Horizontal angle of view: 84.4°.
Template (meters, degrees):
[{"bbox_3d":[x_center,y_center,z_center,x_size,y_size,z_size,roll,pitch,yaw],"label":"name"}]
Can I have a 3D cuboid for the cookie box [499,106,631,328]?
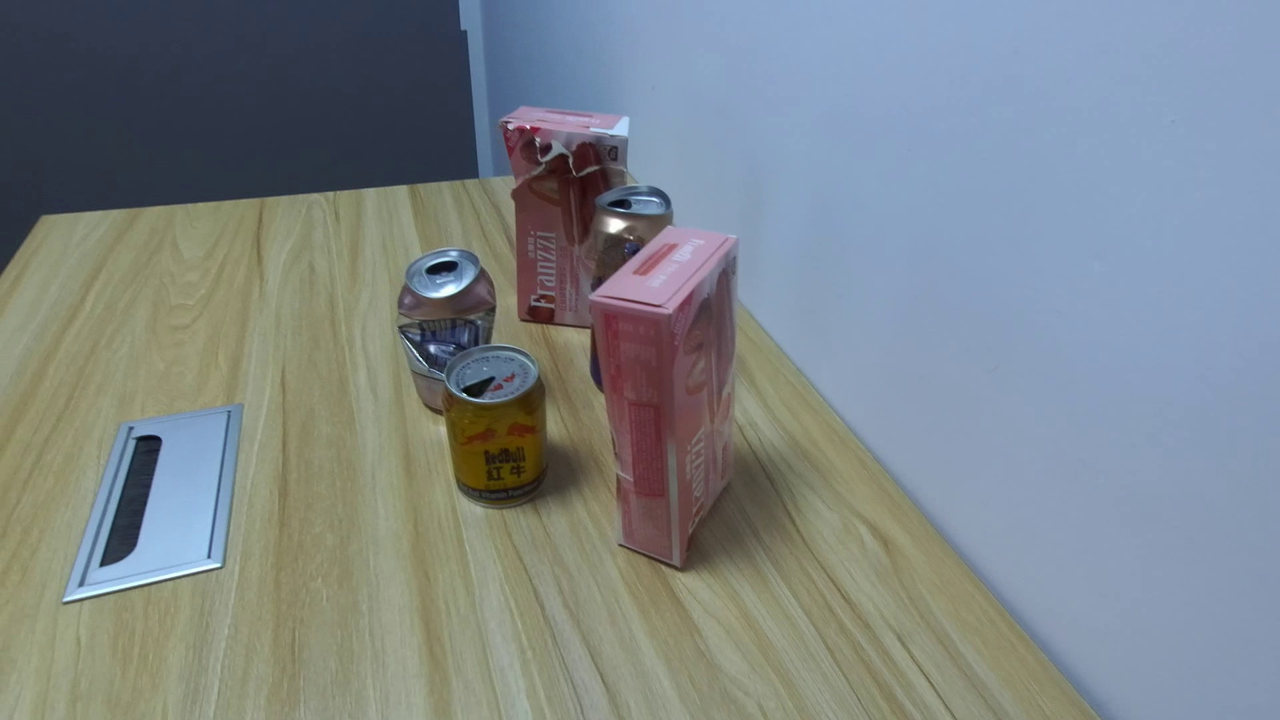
[{"bbox_3d":[-0.059,-0.114,0.608,0.105,0.186,0.059,7,32,7],"label":"cookie box"}]

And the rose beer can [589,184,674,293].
[{"bbox_3d":[-0.004,-0.050,0.544,0.068,0.162,0.073,-5,33,-11],"label":"rose beer can"}]

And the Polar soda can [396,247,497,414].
[{"bbox_3d":[-0.145,-0.019,0.538,0.071,0.122,0.066,-18,46,-24],"label":"Polar soda can"}]

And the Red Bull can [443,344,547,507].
[{"bbox_3d":[-0.097,0.044,0.477,0.069,0.092,0.069,2,38,-1],"label":"Red Bull can"}]

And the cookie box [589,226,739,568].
[{"bbox_3d":[0.020,0.028,0.429,0.048,0.188,0.105,12,37,23],"label":"cookie box"}]
